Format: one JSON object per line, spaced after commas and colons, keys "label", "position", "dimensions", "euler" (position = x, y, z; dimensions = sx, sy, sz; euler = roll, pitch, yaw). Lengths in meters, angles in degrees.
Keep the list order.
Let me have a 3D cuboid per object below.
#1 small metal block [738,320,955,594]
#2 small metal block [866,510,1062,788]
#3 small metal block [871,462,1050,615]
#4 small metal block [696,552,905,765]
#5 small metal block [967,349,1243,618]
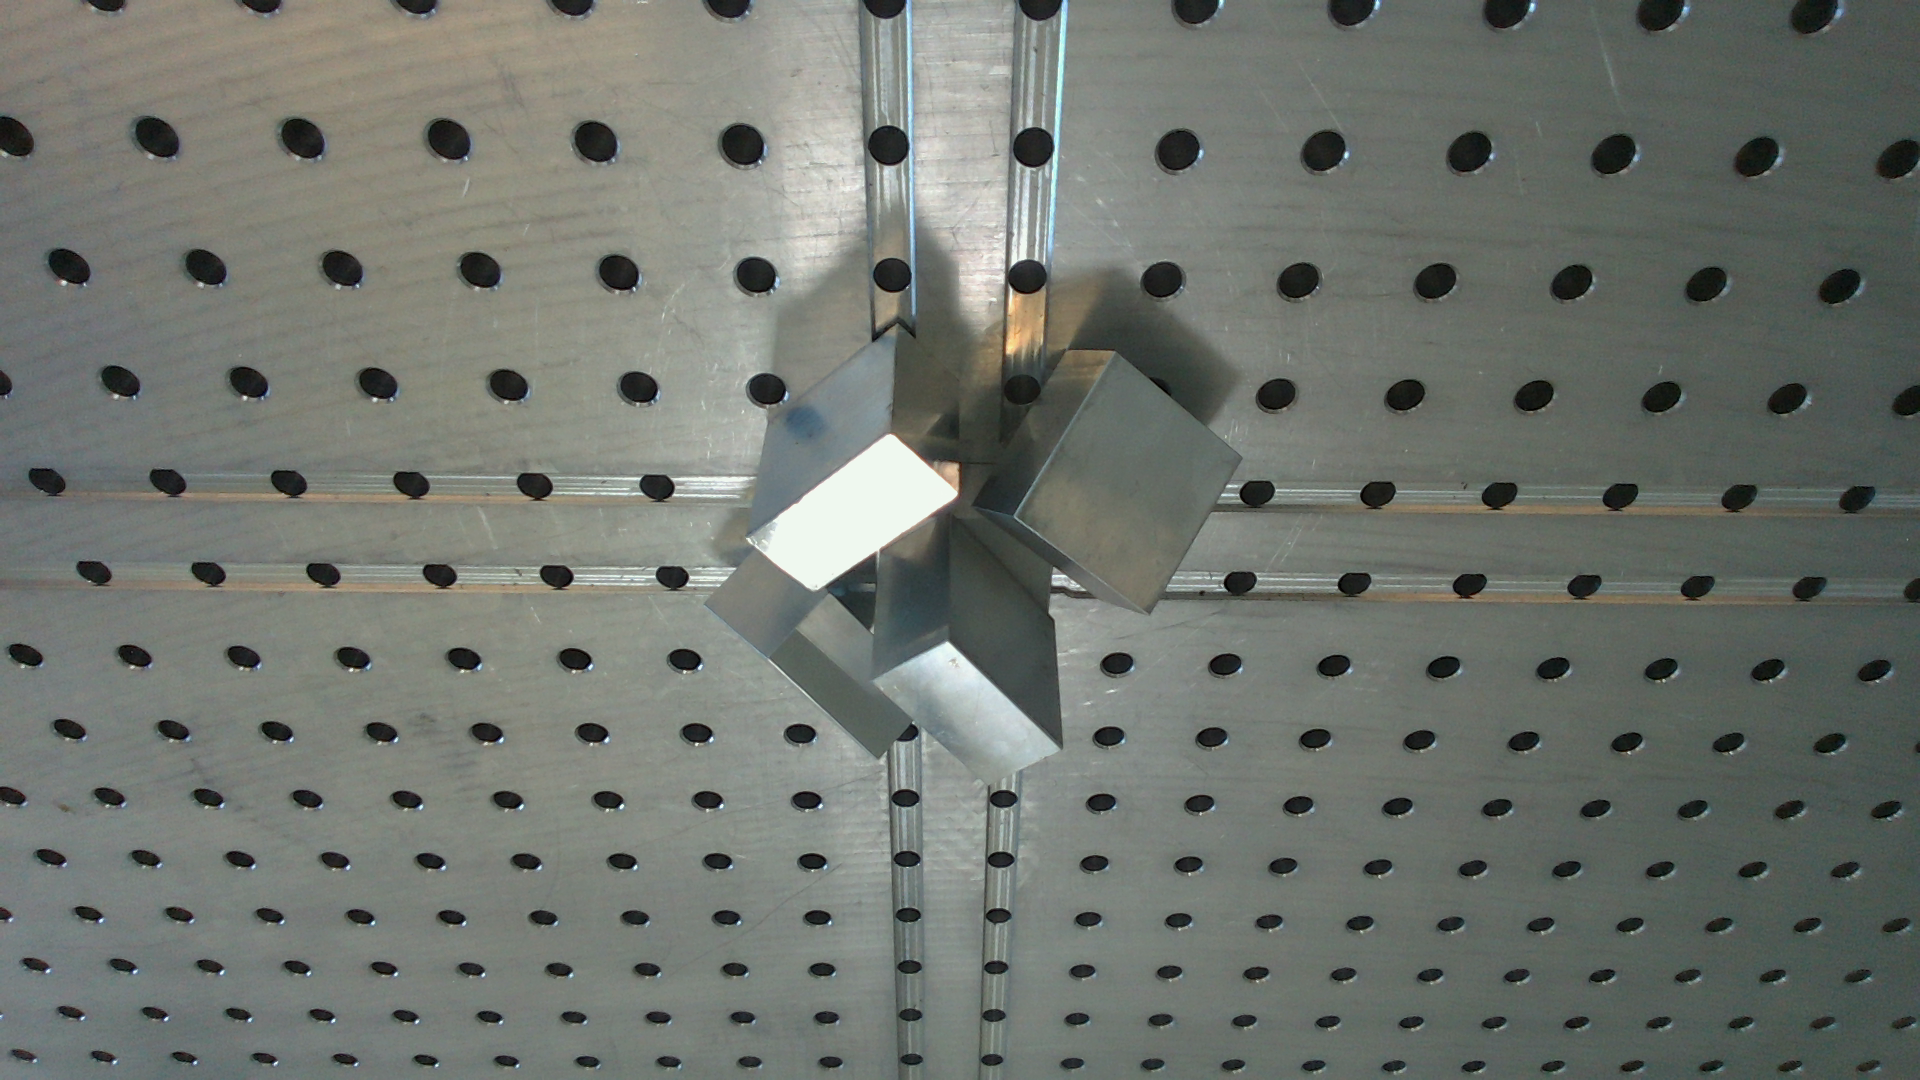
{"label": "small metal block", "position": [-0.029, -0.022, 0.359], "dimensions": [0.050, 0.050, 0.025], "euler": [-34, 122, 25]}
{"label": "small metal block", "position": [0.001, 0.029, 0.369], "dimensions": [0.025, 0.050, 0.050], "euler": [-30, 125, 22]}
{"label": "small metal block", "position": [0.000, 0.005, 0.397], "dimensions": [0.050, 0.025, 0.050], "euler": [-1, 130, -1]}
{"label": "small metal block", "position": [-0.043, 0.033, 0.401], "dimensions": [0.025, 0.050, 0.050], "euler": [-48, 123, -10]}
{"label": "small metal block", "position": [0.039, -0.015, 0.363], "dimensions": [0.050, 0.025, 0.050], "euler": [35, 82, -26]}
